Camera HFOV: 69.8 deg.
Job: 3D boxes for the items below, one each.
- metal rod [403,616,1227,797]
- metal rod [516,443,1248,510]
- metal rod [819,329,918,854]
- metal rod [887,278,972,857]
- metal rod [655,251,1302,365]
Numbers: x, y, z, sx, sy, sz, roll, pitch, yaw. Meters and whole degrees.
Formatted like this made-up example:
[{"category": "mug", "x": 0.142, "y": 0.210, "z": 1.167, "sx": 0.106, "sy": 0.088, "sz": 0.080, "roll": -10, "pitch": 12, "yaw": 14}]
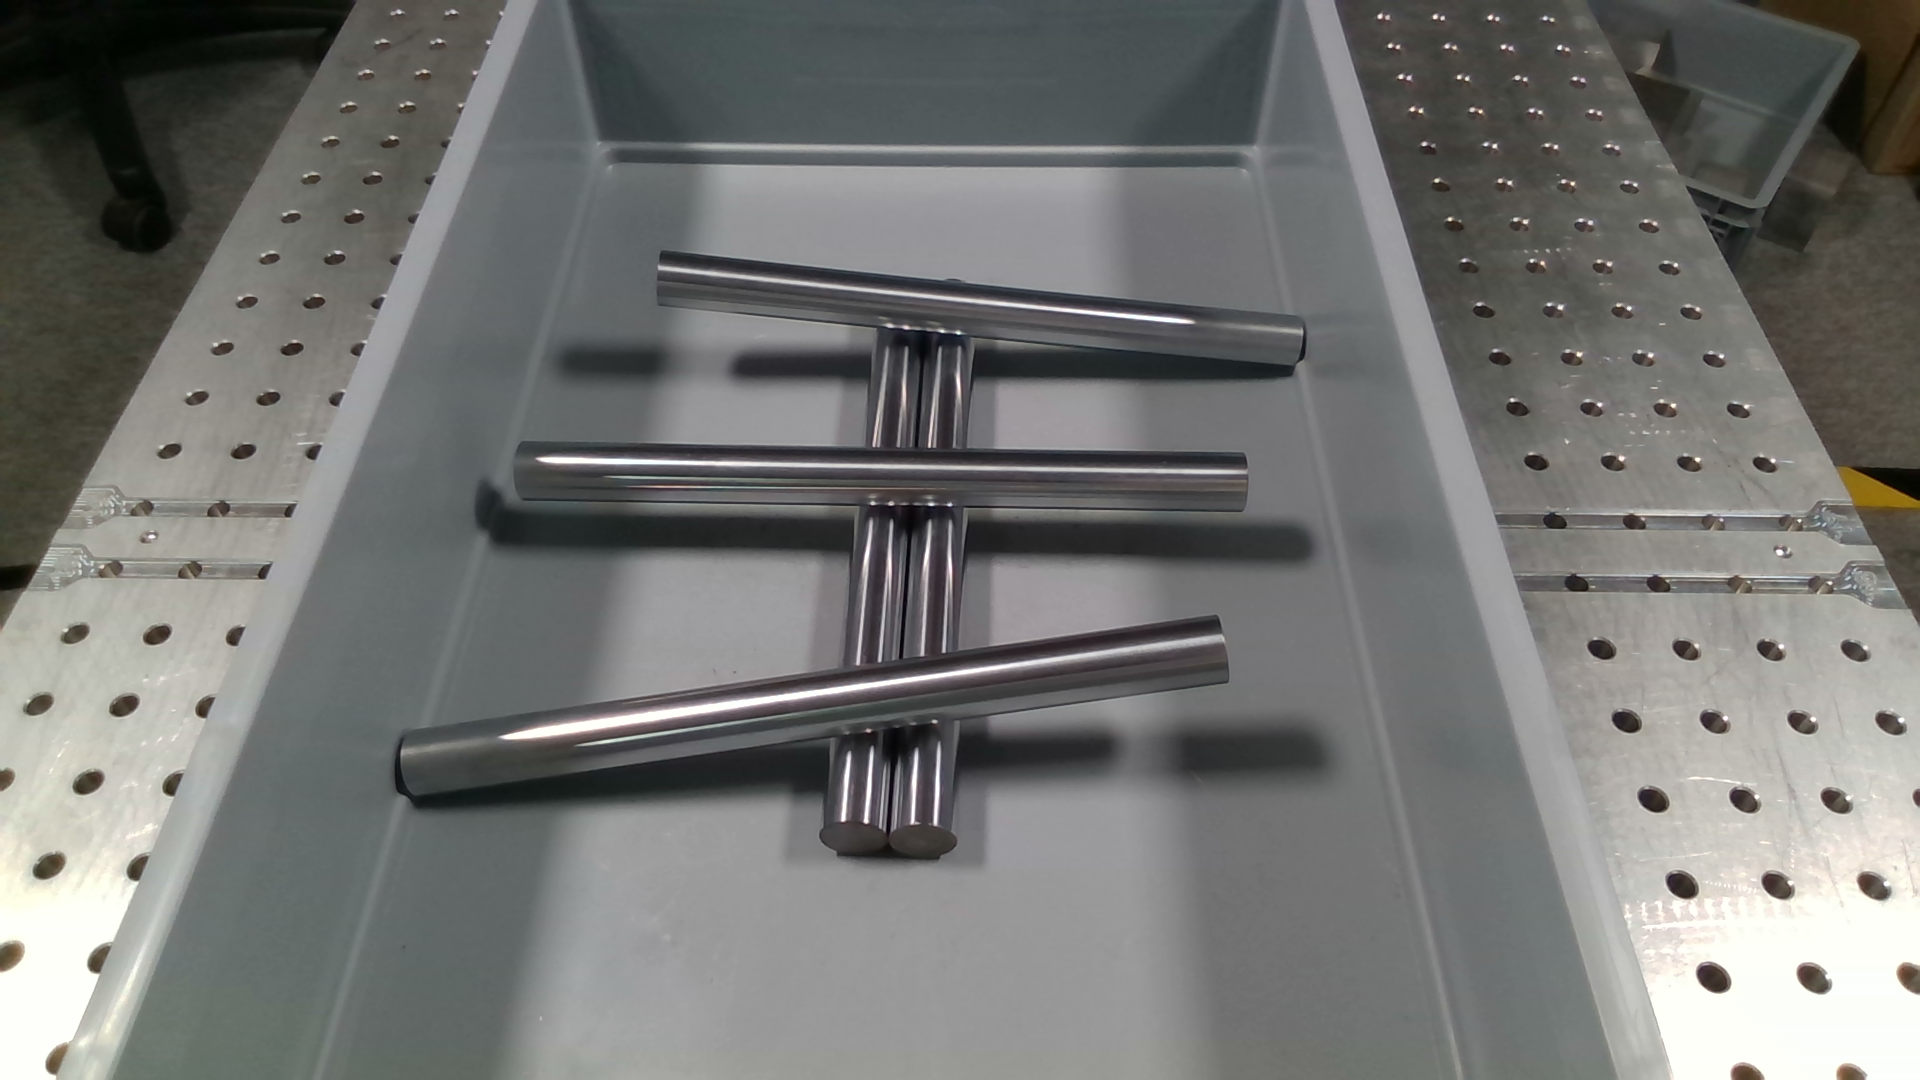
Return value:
[{"category": "metal rod", "x": -0.054, "y": 0.062, "z": 0.505, "sx": 0.300, "sy": 0.025, "sz": 0.025, "roll": -8, "pitch": 50, "yaw": 4}, {"category": "metal rod", "x": -0.032, "y": -0.026, "z": 0.576, "sx": 0.300, "sy": 0.025, "sz": 0.025, "roll": 1, "pitch": 50, "yaw": 1}, {"category": "metal rod", "x": -0.034, "y": -0.007, "z": 0.592, "sx": 0.025, "sy": 0.025, "sz": 0.299, "roll": 1, "pitch": 50, "yaw": 1}, {"category": "metal rod", "x": -0.009, "y": -0.006, "z": 0.592, "sx": 0.025, "sy": 0.025, "sz": 0.299, "roll": 1, "pitch": 50, "yaw": 1}, {"category": "metal rod", "x": 0.011, "y": -0.107, "z": 0.644, "sx": 0.300, "sy": 0.025, "sz": 0.025, "roll": 5, "pitch": 50, "yaw": -7}]
